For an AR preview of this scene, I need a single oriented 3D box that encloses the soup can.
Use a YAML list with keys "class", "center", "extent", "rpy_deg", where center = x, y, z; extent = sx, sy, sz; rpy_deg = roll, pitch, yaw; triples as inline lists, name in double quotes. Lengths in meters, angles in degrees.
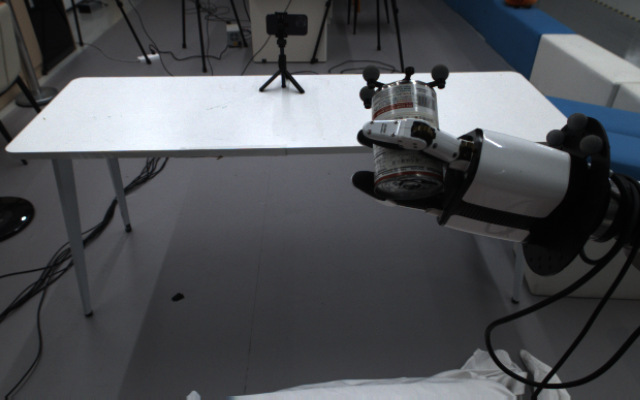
- class: "soup can"
  center: [0.088, -0.058, 0.482]
  extent: [0.067, 0.067, 0.101]
  rpy_deg: [1, 72, -2]
